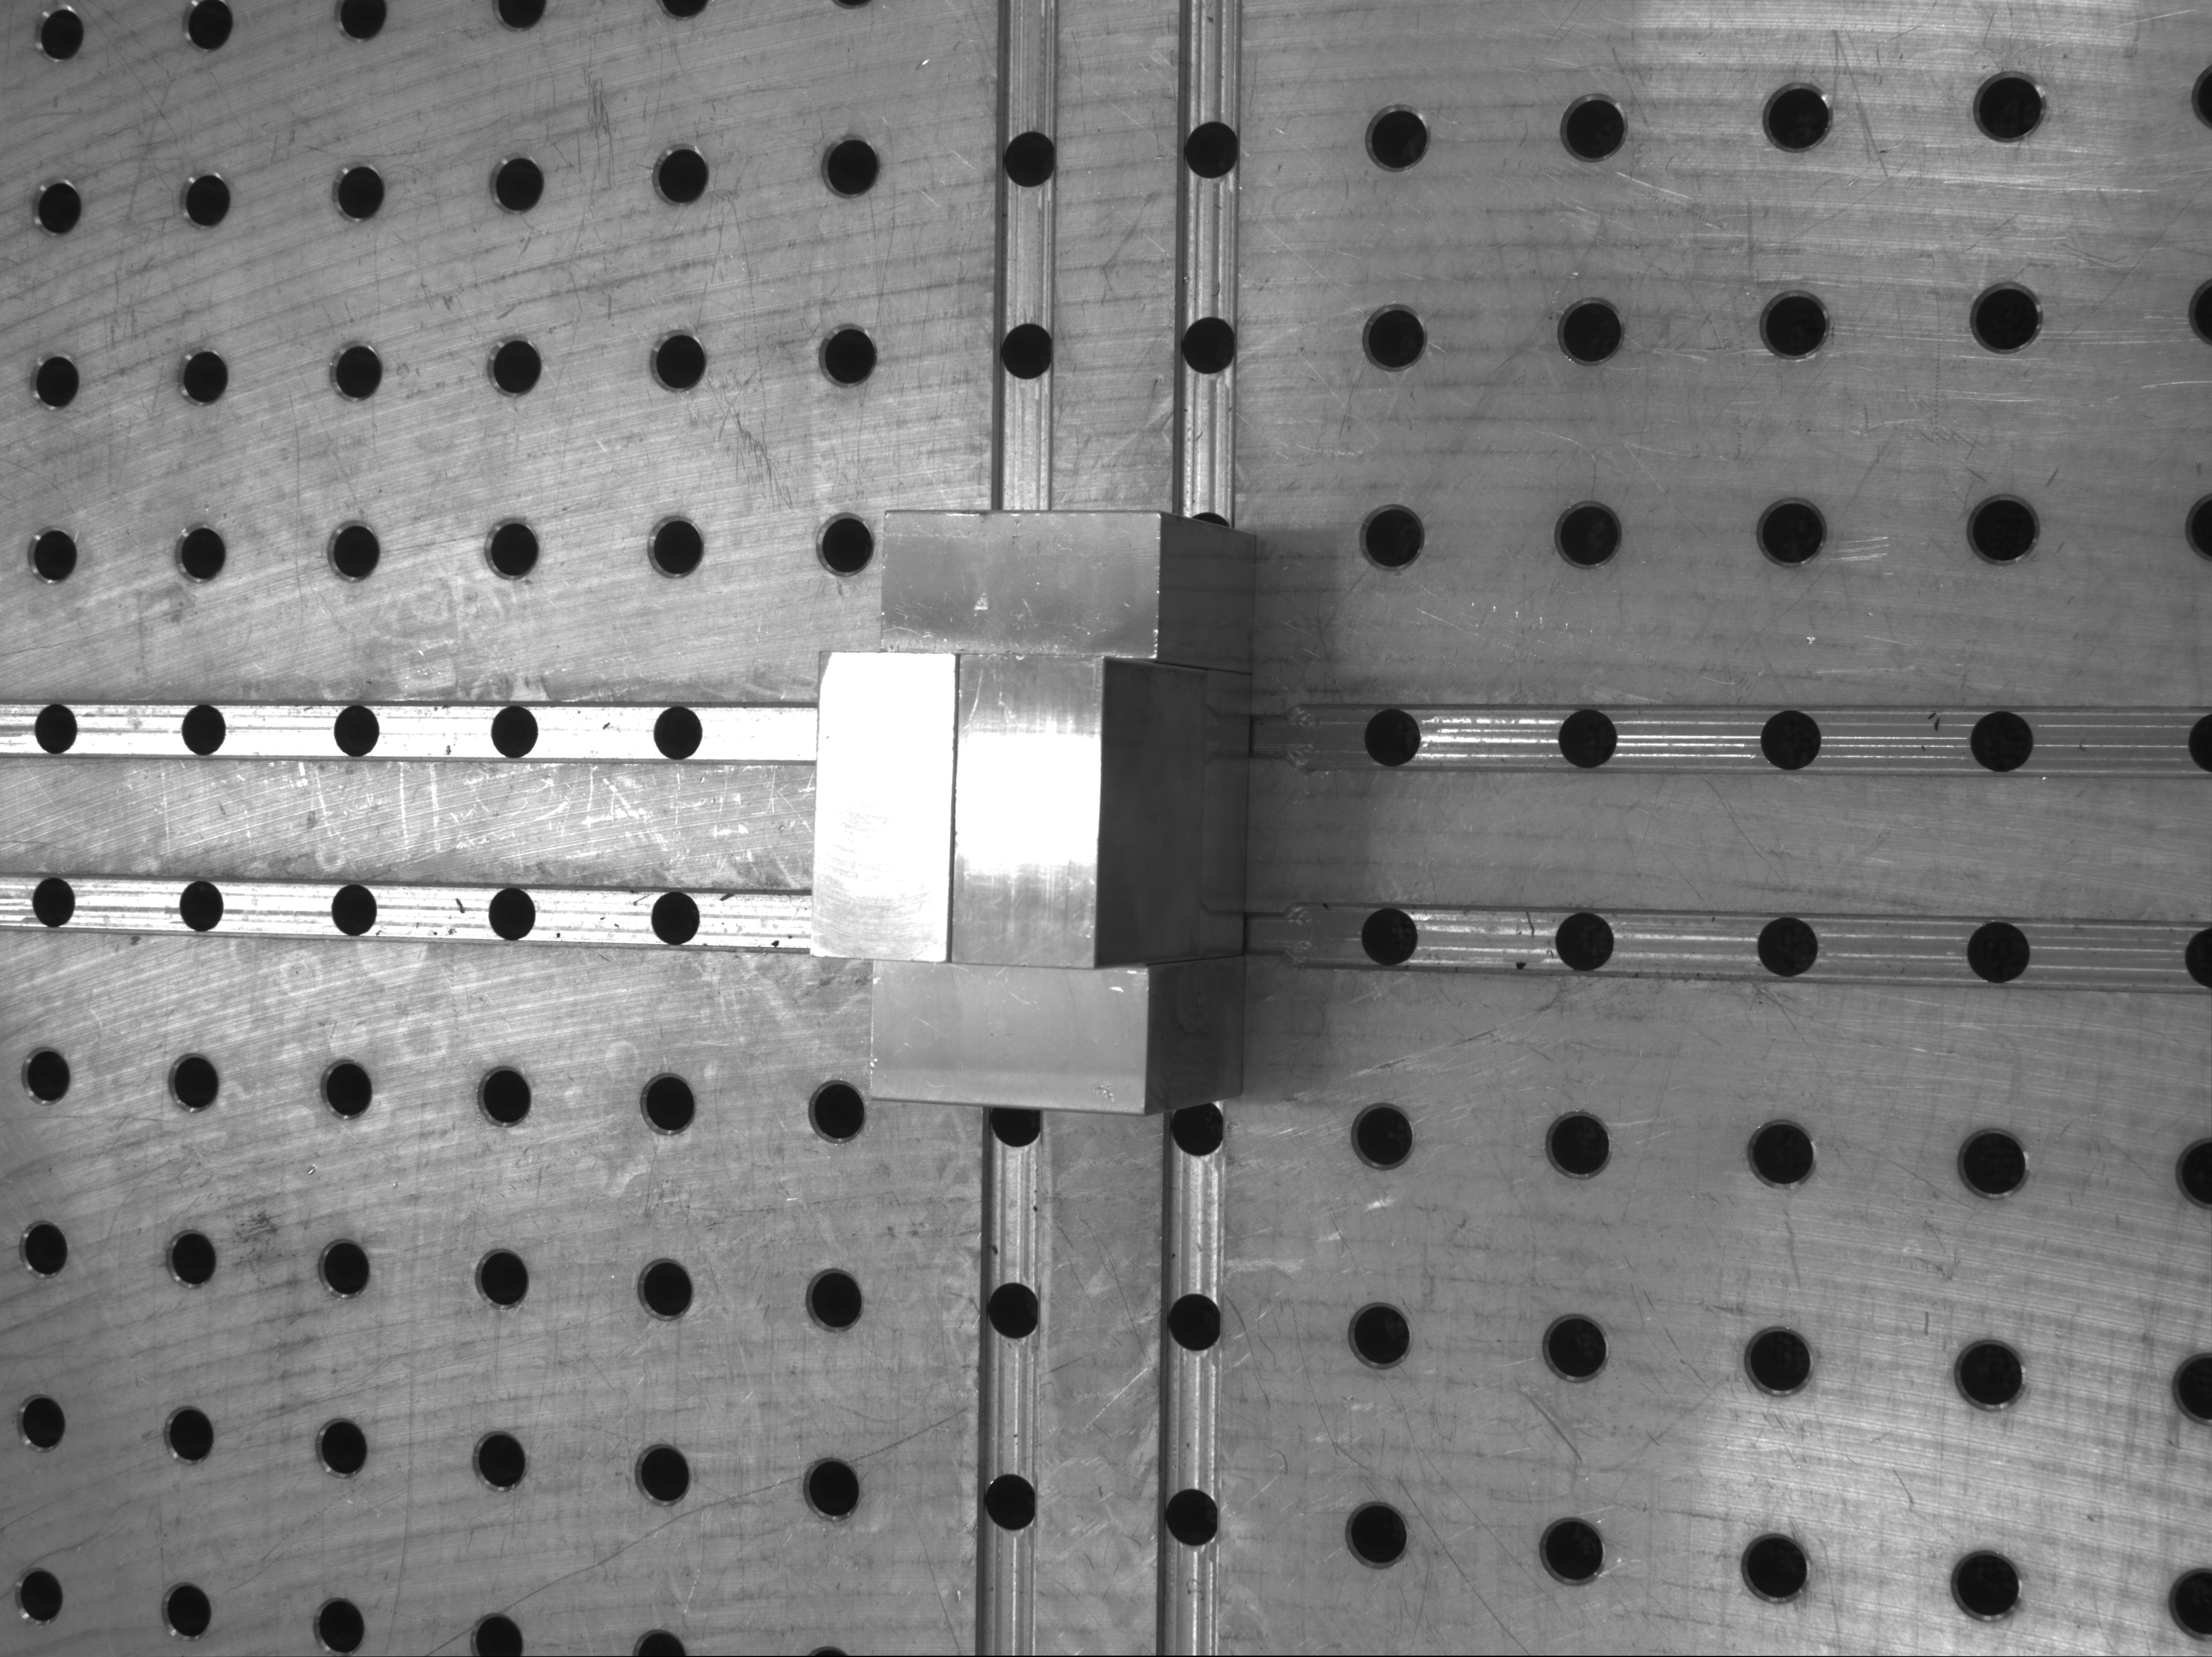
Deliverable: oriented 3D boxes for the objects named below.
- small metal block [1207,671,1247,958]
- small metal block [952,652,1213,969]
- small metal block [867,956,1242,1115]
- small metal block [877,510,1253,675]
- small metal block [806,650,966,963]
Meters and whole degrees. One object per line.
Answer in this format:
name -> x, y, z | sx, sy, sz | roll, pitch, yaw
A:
small metal block -> -0.003, -0.003, 0.650 | 0.050, 0.025, 0.050 | 2, 91, 21
small metal block -> -0.003, -0.003, 0.611 | 0.025, 0.050, 0.050 | 2, 91, 21
small metal block -> -0.008, 0.034, 0.639 | 0.050, 0.050, 0.025 | 2, 90, 20
small metal block -> -0.006, -0.041, 0.638 | 0.050, 0.050, 0.025 | 2, 91, 20
small metal block -> -0.028, -0.004, 0.619 | 0.025, 0.050, 0.050 | 2, 91, 20
